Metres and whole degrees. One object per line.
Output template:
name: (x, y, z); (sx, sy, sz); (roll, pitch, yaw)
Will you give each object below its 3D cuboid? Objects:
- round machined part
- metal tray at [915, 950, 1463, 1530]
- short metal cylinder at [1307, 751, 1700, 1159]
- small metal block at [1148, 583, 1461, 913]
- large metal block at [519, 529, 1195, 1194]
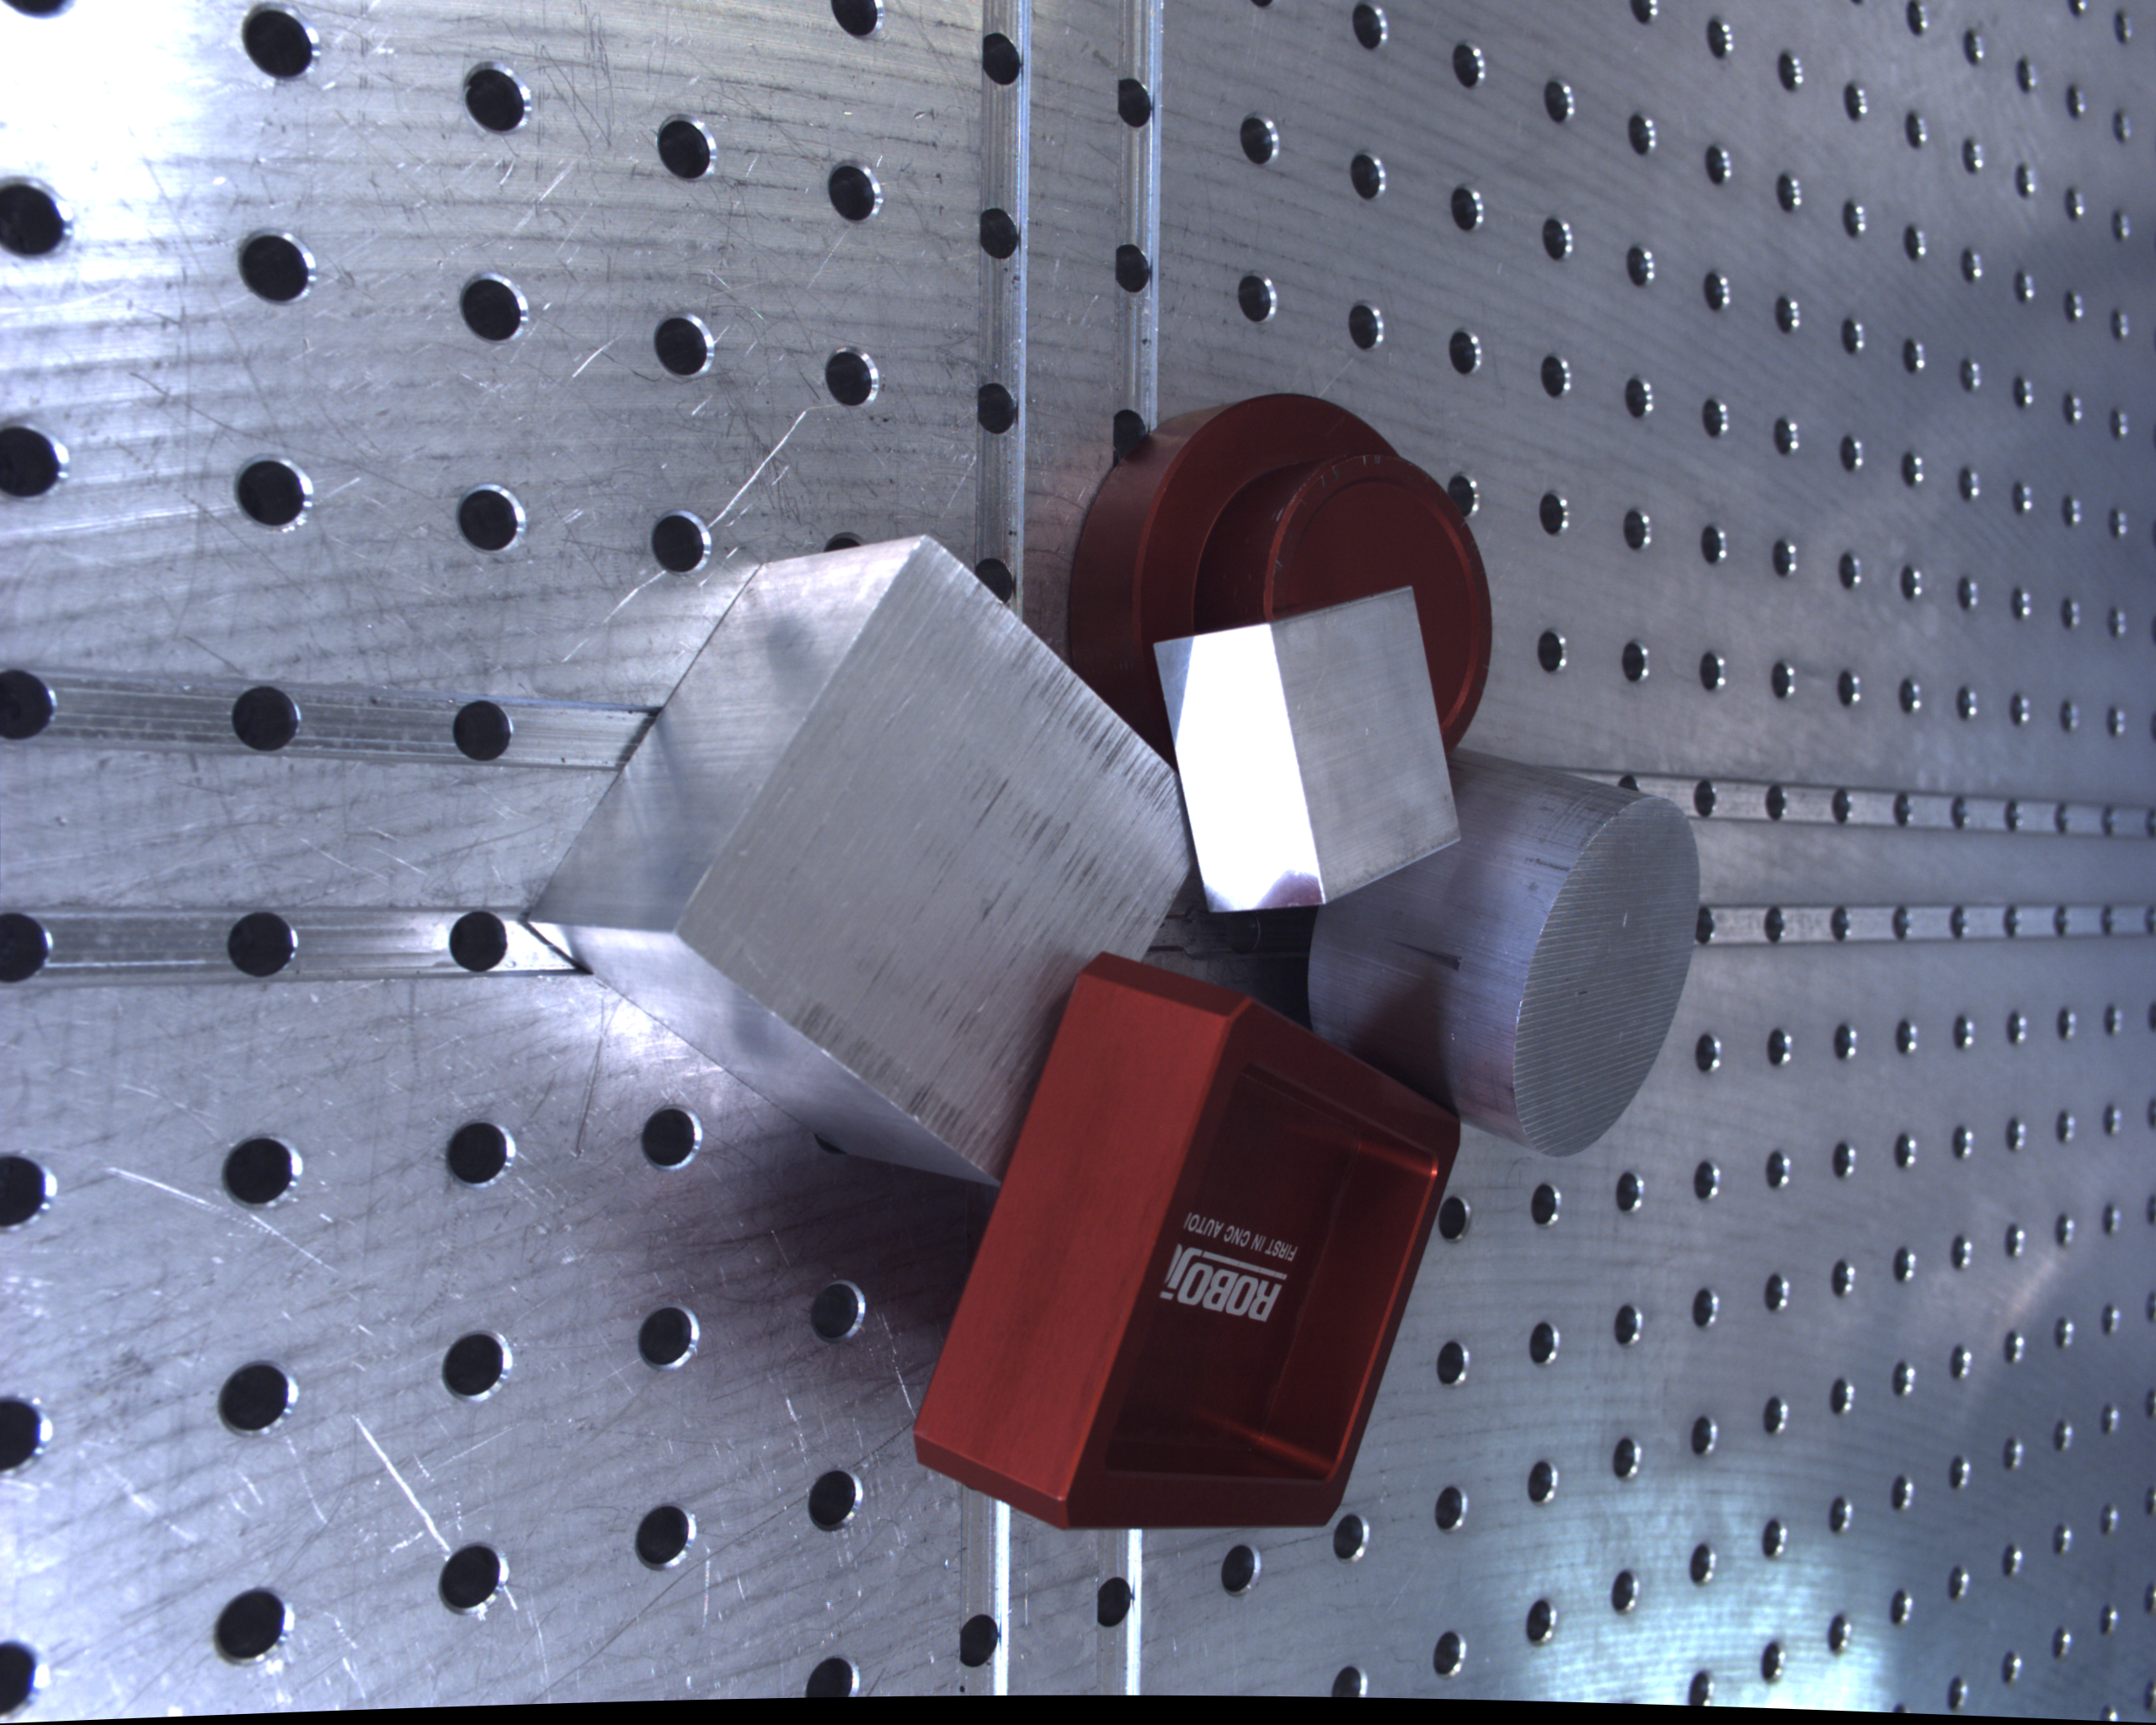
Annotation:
round machined part: (0.049, -0.050, 0.439); (0.099, 0.042, 0.097); (0, 90, -40)
metal tray: (0.028, 0.076, 0.392); (0.130, 0.030, 0.090); (32, 76, -59)
short metal cylinder: (0.094, 0.019, 0.457); (0.081, 0.050, 0.079); (-23, 121, -45)
small metal block: (0.043, -0.022, 0.385); (0.050, 0.025, 0.050); (-20, 100, -49)
large metal block: (-0.034, 0.001, 0.364); (0.080, 0.050, 0.080); (43, 64, -32)
